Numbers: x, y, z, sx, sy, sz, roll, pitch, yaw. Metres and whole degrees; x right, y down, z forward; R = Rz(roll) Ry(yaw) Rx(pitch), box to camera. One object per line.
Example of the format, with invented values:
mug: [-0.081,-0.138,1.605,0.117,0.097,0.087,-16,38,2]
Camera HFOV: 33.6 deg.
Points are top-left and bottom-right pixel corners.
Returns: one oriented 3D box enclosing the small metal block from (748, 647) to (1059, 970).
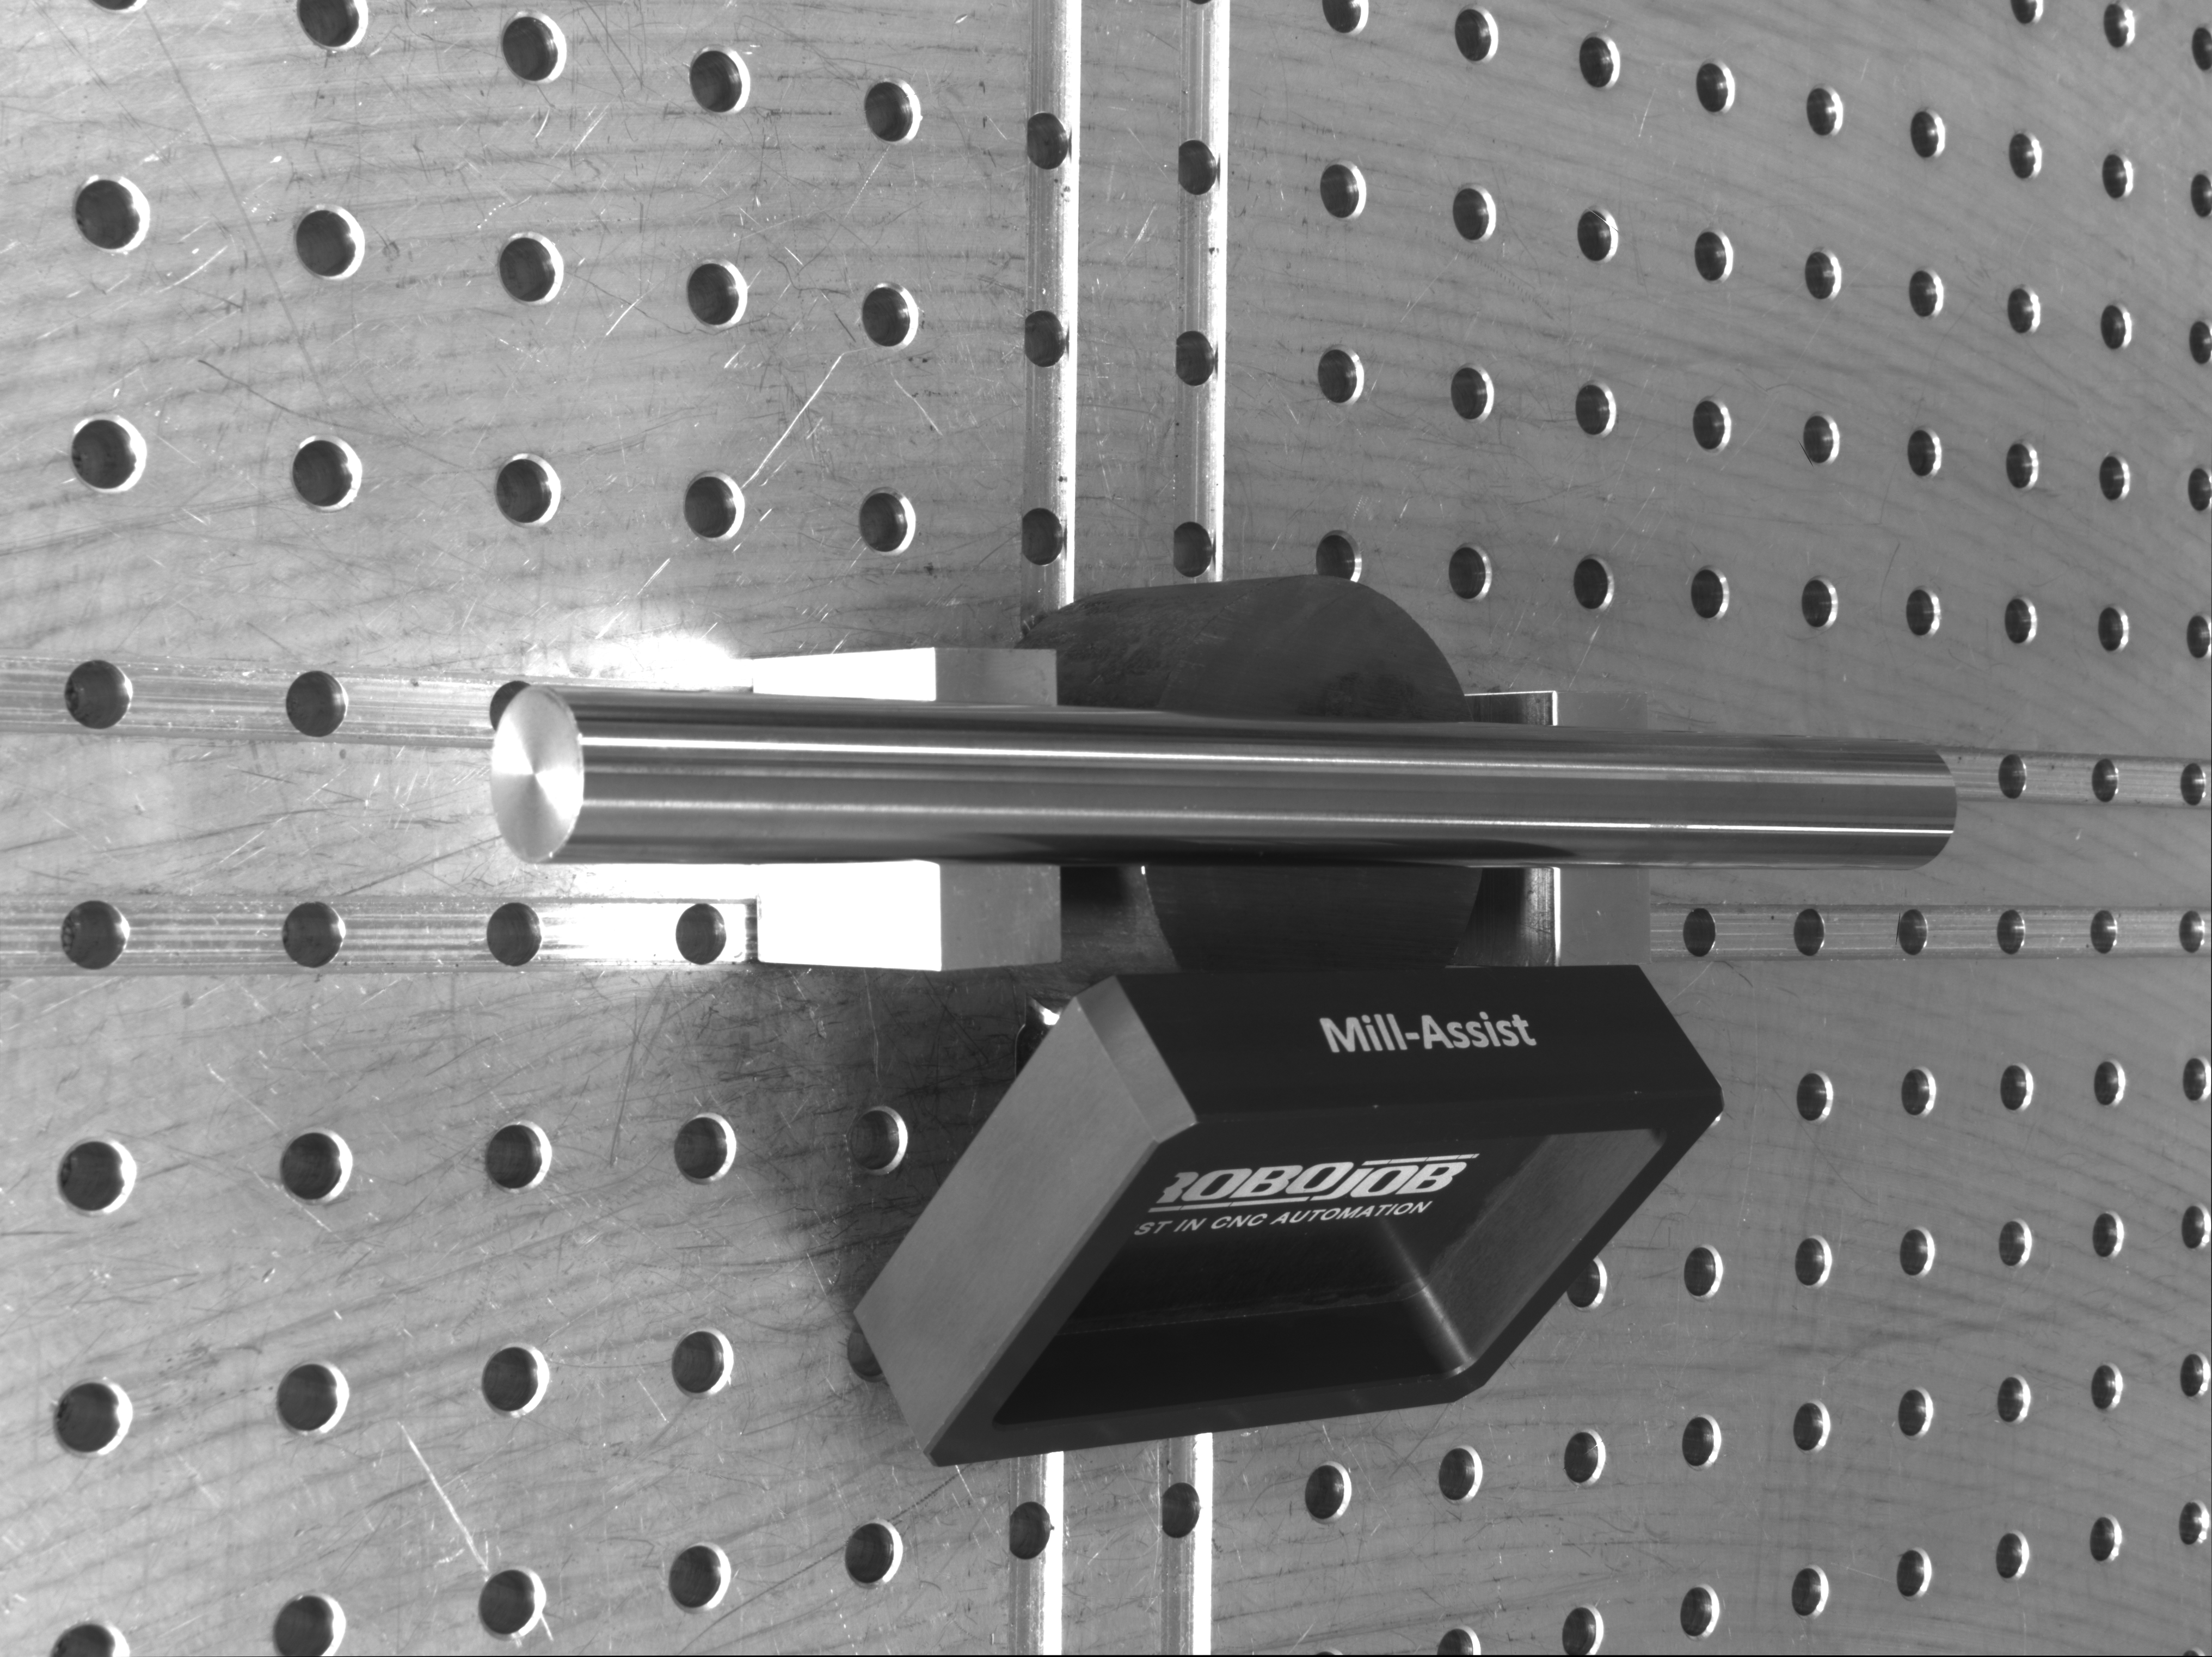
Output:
small metal block: [-0.033,-0.003,0.595,0.025,0.050,0.050,-1,91,-40]

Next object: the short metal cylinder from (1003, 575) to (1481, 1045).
short metal cylinder: [0.020,-0.003,0.639,0.080,0.050,0.080,0,90,-40]

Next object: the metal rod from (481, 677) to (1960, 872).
metal rod: [0.036,-0.006,0.604,0.301,0.025,0.025,1,89,-39]

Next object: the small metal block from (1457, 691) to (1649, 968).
small metal block: [0.074,0.000,0.684,0.025,0.050,0.050,-1,91,-40]

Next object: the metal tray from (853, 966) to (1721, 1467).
metal tray: [0.032,0.065,0.626,0.131,0.090,0.030,1,46,-40]
